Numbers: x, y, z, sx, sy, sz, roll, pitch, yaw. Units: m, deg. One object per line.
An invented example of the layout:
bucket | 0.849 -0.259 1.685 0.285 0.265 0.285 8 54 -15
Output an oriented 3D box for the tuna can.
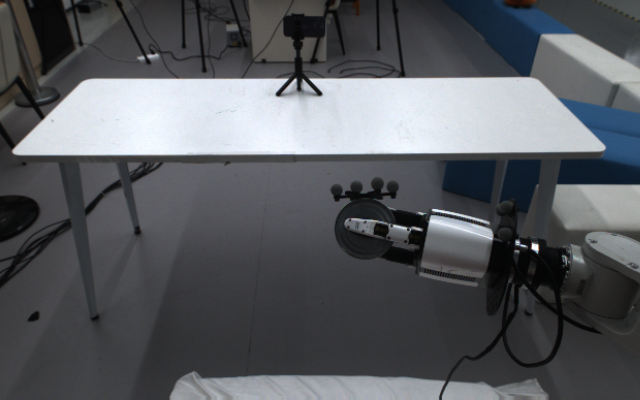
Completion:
tuna can | 0.065 0.040 0.678 0.085 0.034 0.085 -2 78 10
